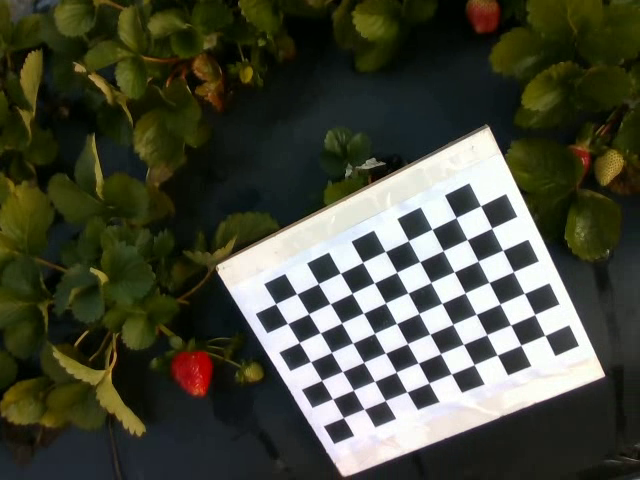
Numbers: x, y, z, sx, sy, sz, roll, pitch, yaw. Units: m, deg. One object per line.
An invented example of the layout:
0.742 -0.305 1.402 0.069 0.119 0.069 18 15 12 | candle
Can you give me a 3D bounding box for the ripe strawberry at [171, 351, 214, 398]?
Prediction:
-0.133 0.147 0.595 0.052 0.043 0.057 25 23 -32 | ripe strawberry
